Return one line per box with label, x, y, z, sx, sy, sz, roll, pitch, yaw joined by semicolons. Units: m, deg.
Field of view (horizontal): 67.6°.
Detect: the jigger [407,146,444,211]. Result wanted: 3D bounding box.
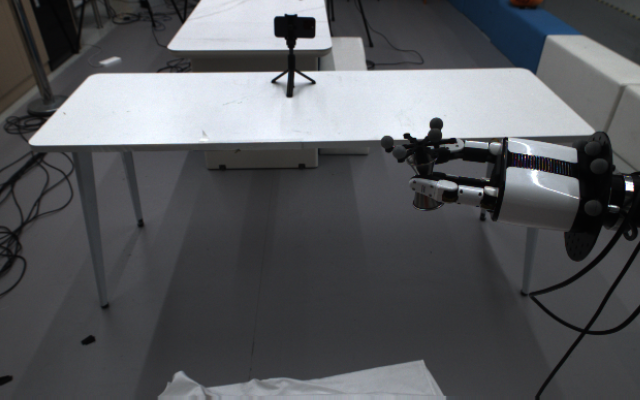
jigger;0.139;-0.026;0.636;0.043;0.071;0.043;-12;29;7
